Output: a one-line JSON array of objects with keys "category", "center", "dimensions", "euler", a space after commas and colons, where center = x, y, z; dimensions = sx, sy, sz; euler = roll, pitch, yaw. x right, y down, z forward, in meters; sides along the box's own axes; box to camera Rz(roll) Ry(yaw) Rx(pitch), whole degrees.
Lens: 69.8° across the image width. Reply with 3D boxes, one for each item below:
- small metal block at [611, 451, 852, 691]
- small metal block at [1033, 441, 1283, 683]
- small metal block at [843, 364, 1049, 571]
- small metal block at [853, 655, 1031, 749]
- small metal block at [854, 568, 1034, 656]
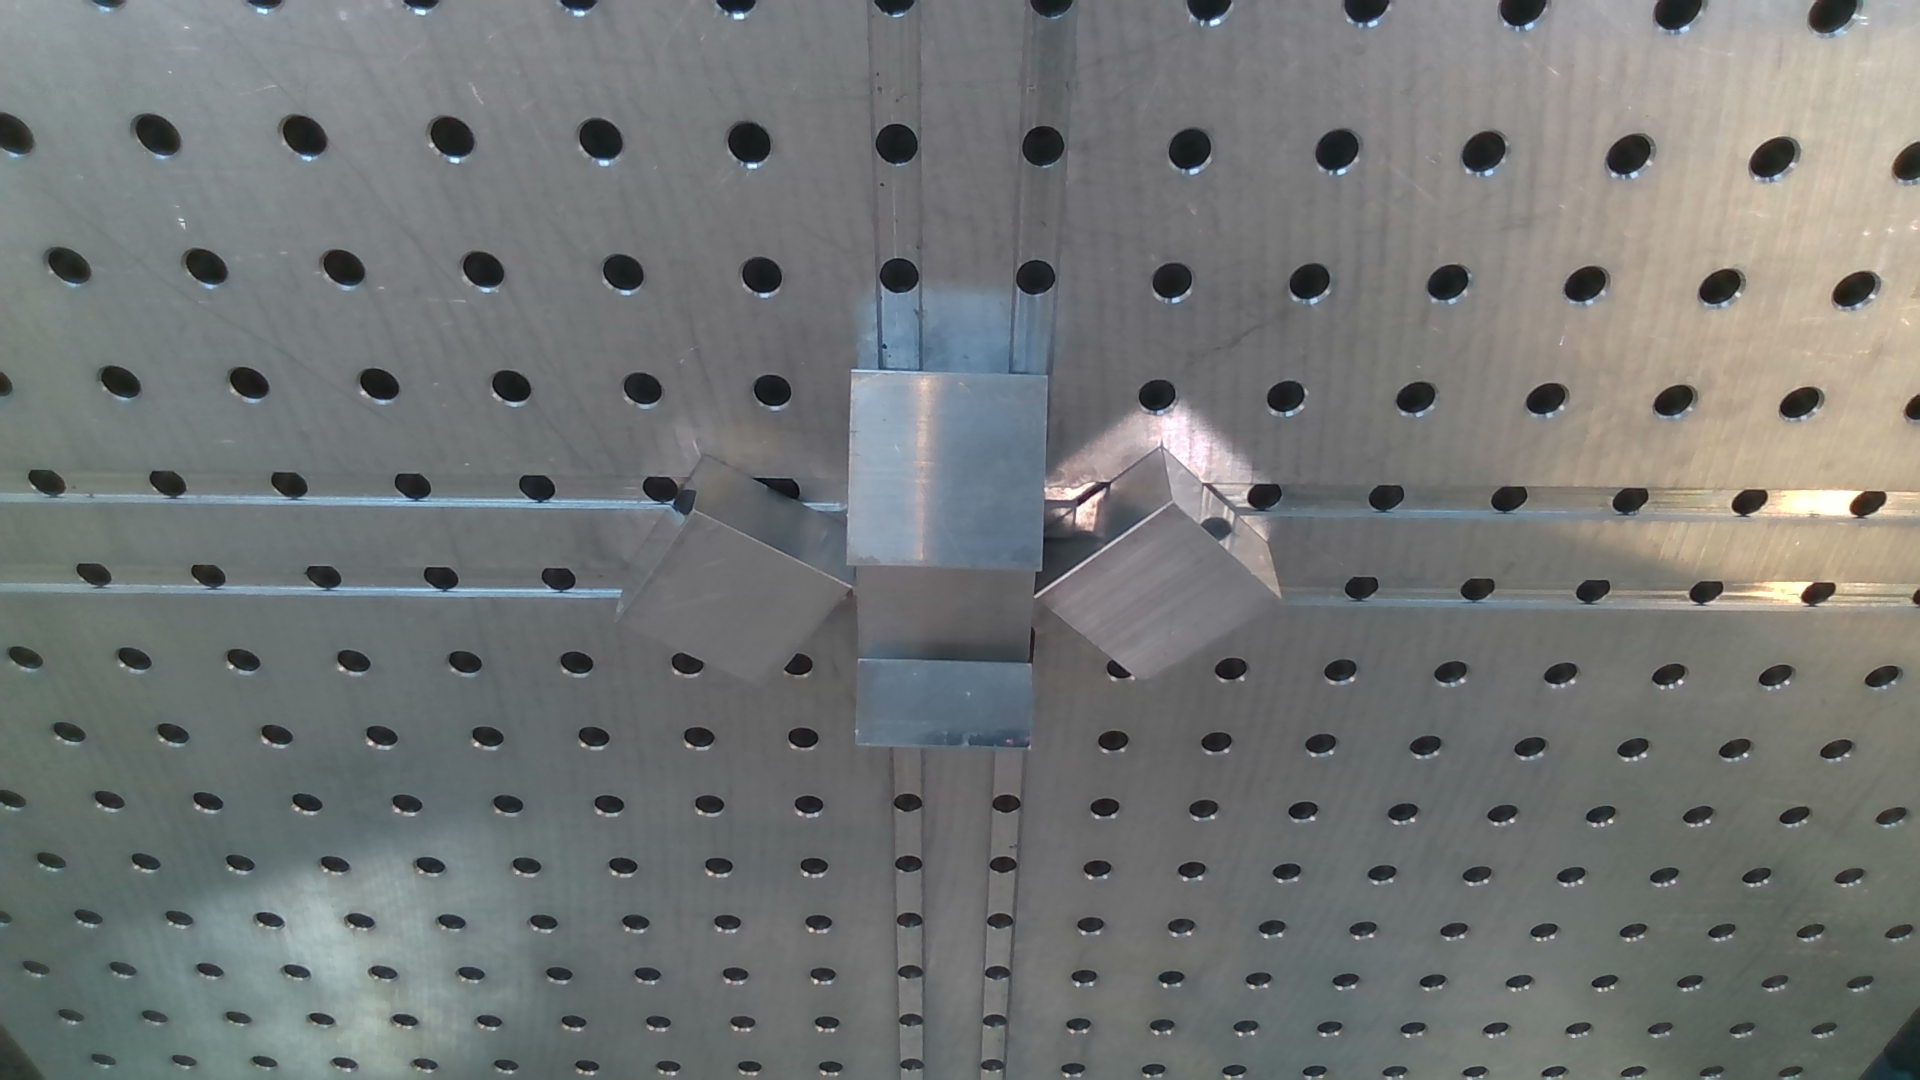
[{"category": "small metal block", "center": [-0.065, 0.010, 0.399], "dimensions": [0.050, 0.025, 0.050], "euler": [28, 123, -21]}, {"category": "small metal block", "center": [0.056, 0.008, 0.397], "dimensions": [0.050, 0.025, 0.050], "euler": [-37, 122, 26]}, {"category": "small metal block", "center": [-0.004, -0.019, 0.358], "dimensions": [0.050, 0.025, 0.050], "euler": [2, 94, -1]}, {"category": "small metal block", "center": [-0.006, 0.050, 0.415], "dimensions": [0.050, 0.025, 0.050], "euler": [2, 171, -2]}, {"category": "small metal block", "center": [-0.005, 0.009, 0.397], "dimensions": [0.050, 0.025, 0.050], "euler": [1, 130, -1]}]
